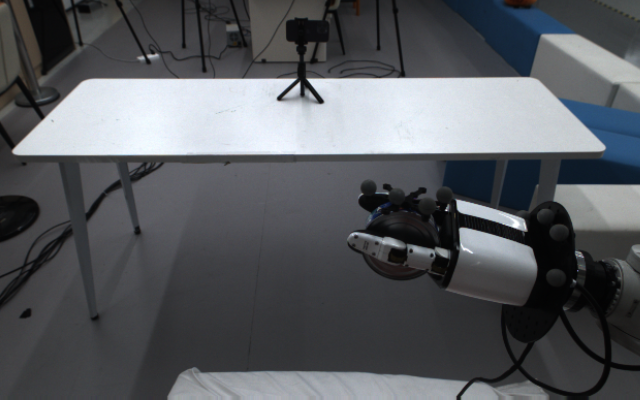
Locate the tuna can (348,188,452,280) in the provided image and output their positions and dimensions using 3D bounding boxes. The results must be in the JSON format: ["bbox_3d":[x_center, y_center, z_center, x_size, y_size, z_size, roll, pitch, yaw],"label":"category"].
[{"bbox_3d":[0.092,0.044,0.539,0.085,0.085,0.034,7,22,7],"label":"tuna can"}]
